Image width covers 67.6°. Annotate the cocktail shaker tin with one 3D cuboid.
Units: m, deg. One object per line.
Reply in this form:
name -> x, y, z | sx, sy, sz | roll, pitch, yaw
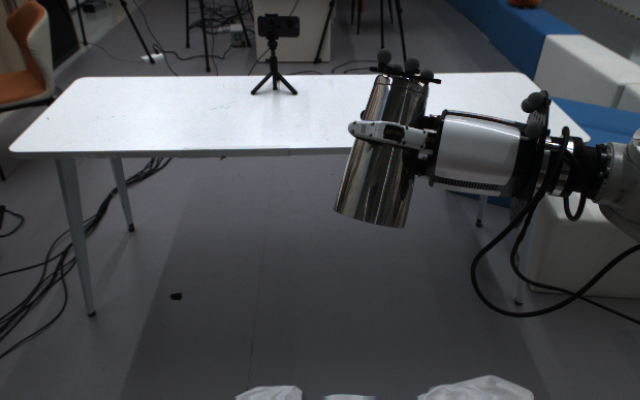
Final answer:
cocktail shaker tin -> 0.082, -0.060, 0.592 | 0.093, 0.170, 0.093 | 13, 7, -2
